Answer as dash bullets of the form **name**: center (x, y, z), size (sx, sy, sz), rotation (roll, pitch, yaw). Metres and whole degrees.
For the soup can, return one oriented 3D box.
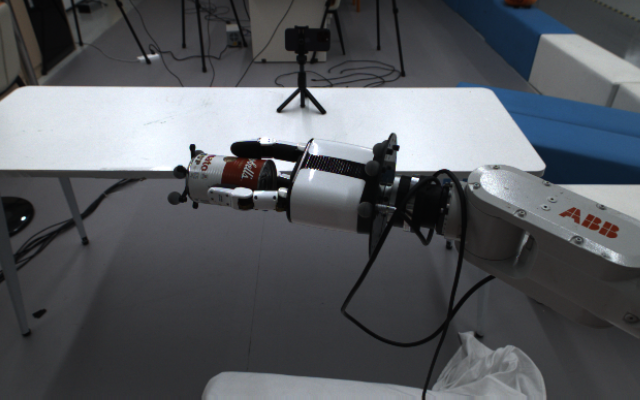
- **soup can**: center (-0.114, -0.023, 0.637), size (0.101, 0.067, 0.067), rotation (7, 35, 13)
